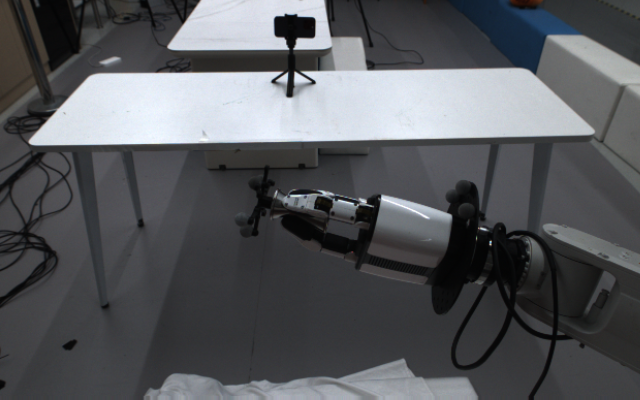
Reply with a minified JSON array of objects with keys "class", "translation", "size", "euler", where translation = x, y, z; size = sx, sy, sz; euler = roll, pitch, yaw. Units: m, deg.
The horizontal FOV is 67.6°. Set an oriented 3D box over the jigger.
[{"class":"jigger","translation":[-0.015,0.010,0.583],"size":[0.071,0.043,0.043],"euler":[13,36,4]}]
